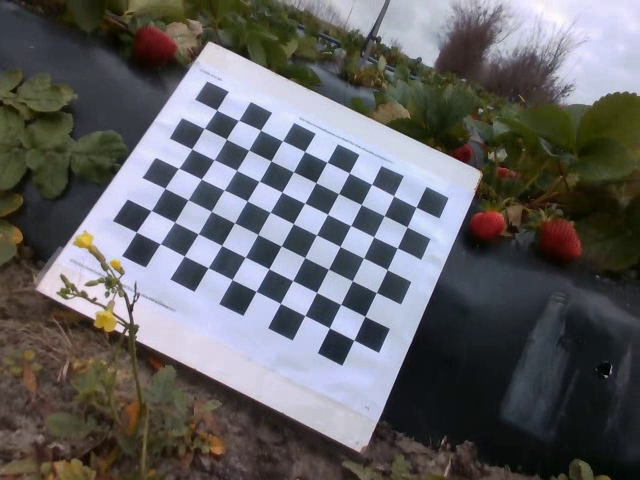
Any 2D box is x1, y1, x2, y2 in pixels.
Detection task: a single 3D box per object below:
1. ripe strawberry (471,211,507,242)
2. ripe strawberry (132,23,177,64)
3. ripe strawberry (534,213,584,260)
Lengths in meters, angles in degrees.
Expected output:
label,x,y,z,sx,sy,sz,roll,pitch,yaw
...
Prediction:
label,x,y,z,sx,sy,sz,roll,pitch,yaw
ripe strawberry,0.162,-0.016,0.562,0.036,0.041,0.028,21,-40,13
ripe strawberry,-0.184,-0.226,0.666,0.064,0.046,0.049,21,-18,38
ripe strawberry,0.240,-0.001,0.578,0.044,0.059,0.042,-23,-40,-3
